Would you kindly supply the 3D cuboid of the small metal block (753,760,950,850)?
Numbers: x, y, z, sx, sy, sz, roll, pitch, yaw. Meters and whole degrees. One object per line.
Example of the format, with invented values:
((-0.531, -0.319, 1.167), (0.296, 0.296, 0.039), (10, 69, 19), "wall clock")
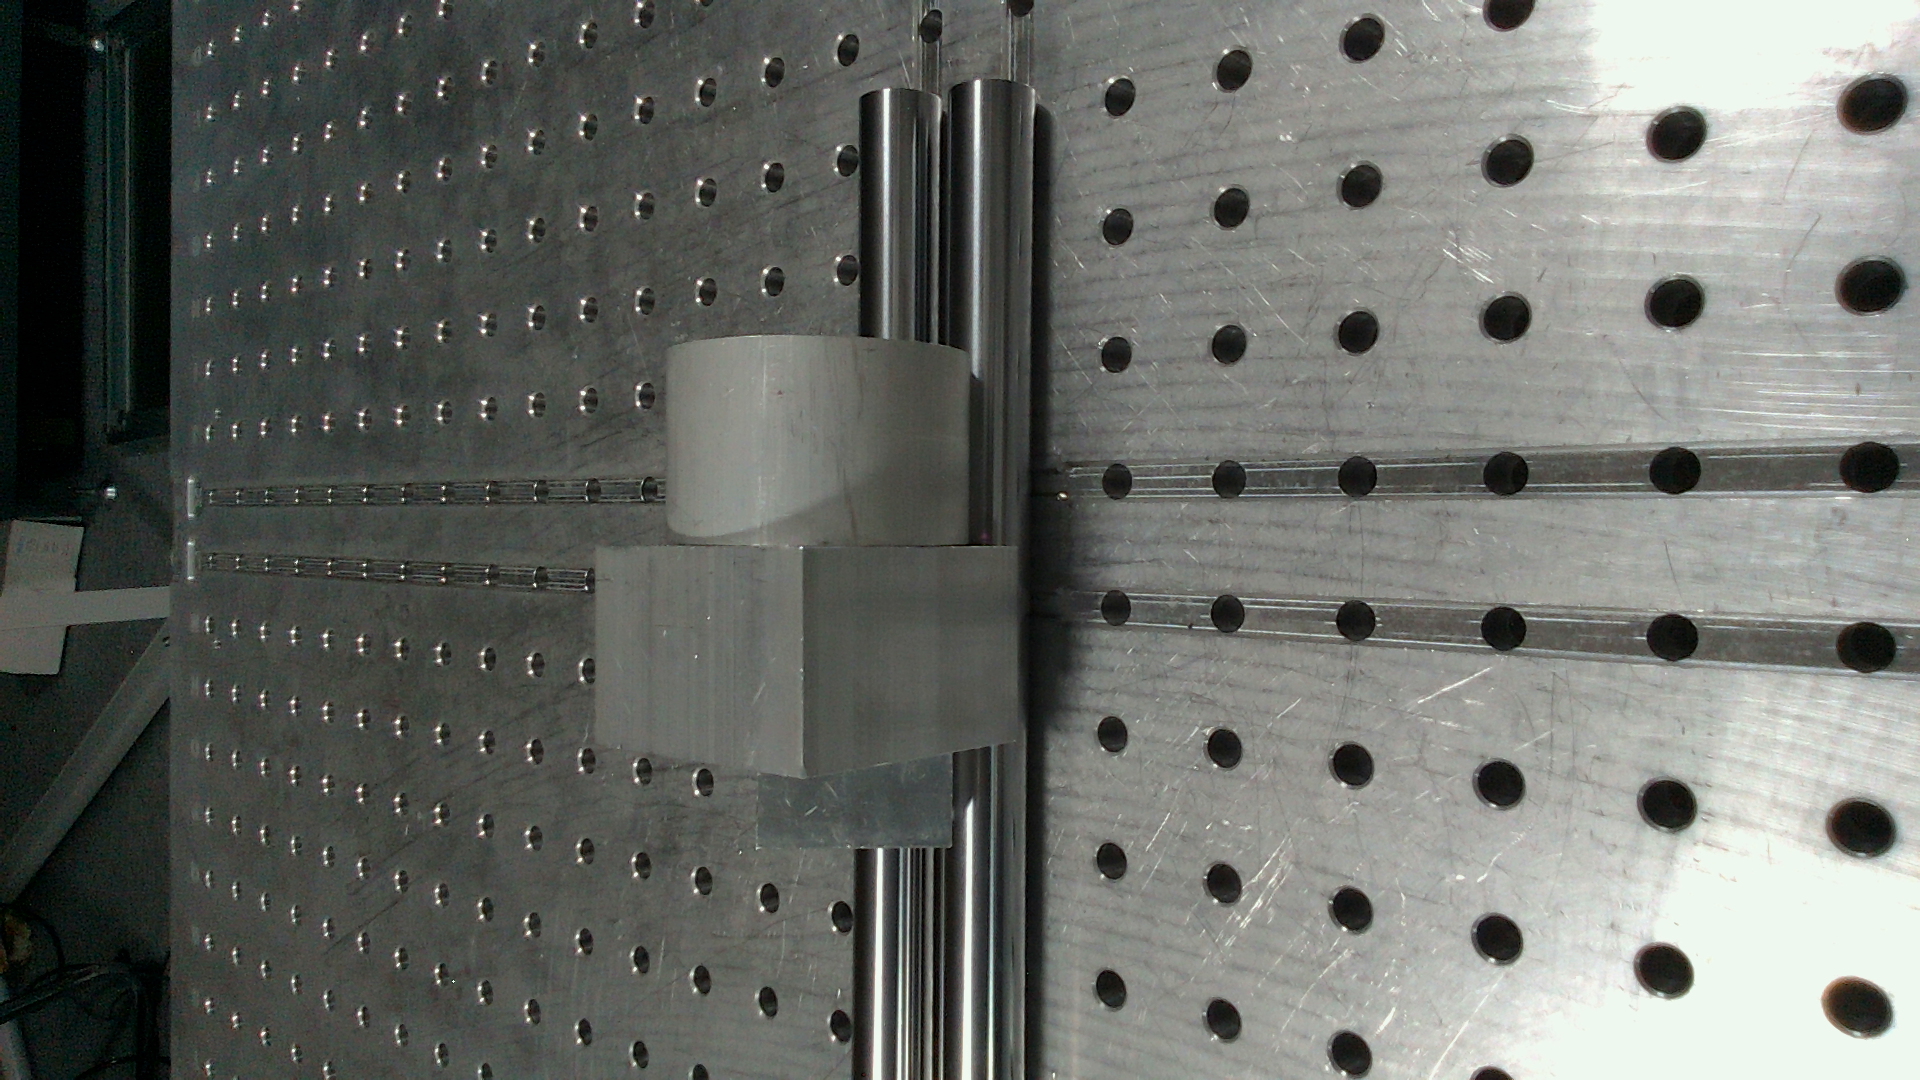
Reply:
((-0.029, 0.066, 0.376), (0.050, 0.050, 0.025), (0, 91, -5), "small metal block")

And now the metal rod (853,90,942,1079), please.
((-0.019, 0.018, 0.415), (0.025, 0.025, 0.300), (1, 91, 40), "metal rod")

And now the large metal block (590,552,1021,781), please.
((-0.040, 0.028, 0.363), (0.080, 0.080, 0.050), (0, 90, 40), "large metal block")

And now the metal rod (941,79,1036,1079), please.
((0.008, 0.023, 0.393), (0.025, 0.025, 0.300), (1, 91, 40), "metal rod")

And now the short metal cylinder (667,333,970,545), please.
((-0.037, -0.024, 0.365), (0.080, 0.080, 0.050), (1, 91, 40), "short metal cylinder")
